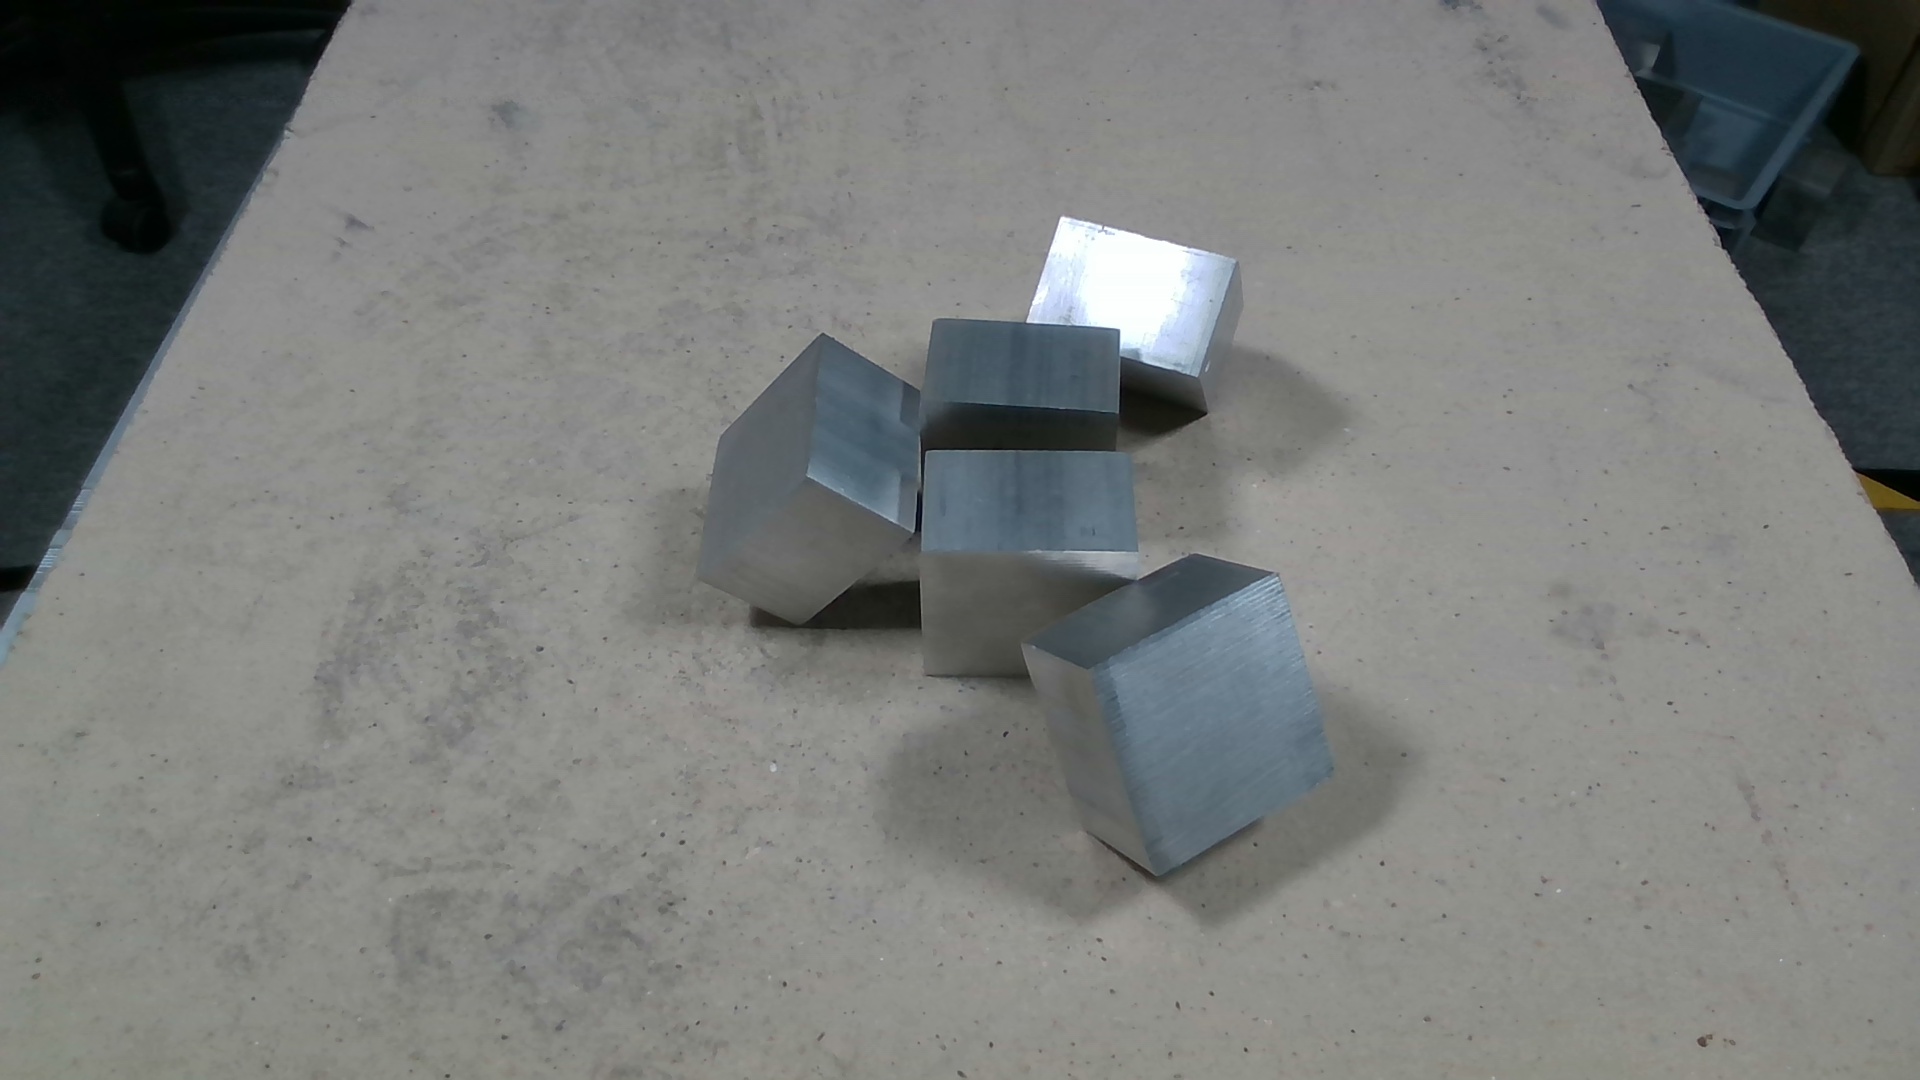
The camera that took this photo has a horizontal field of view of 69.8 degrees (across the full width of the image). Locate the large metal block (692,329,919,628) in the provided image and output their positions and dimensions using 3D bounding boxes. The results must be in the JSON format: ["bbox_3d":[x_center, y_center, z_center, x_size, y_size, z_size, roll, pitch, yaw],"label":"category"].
[{"bbox_3d":[-0.062,-0.024,0.564,0.050,0.080,0.080,28,43,-28],"label":"large metal block"}]

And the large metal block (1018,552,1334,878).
[{"bbox_3d":[0.078,0.060,0.493,0.080,0.080,0.050,-25,17,-20],"label":"large metal block"}]

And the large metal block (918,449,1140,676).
[{"bbox_3d":[0.025,0.010,0.543,0.080,0.080,0.050,1,50,1],"label":"large metal block"}]

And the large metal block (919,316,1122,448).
[{"bbox_3d":[0.026,-0.047,0.591,0.080,0.080,0.050,4,50,3],"label":"large metal block"}]

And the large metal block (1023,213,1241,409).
[{"bbox_3d":[0.080,-0.102,0.625,0.080,0.080,0.050,18,88,14],"label":"large metal block"}]
